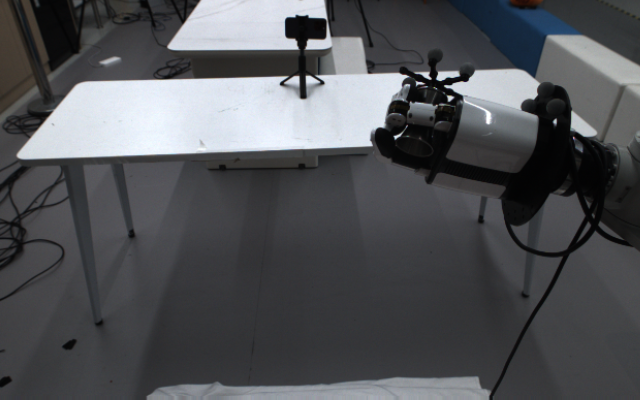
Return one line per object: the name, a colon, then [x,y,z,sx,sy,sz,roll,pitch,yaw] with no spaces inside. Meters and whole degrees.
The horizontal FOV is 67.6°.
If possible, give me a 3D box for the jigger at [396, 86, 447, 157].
jigger: [0.118,-0.091,0.548,0.043,0.043,0.071,14,71,17]
